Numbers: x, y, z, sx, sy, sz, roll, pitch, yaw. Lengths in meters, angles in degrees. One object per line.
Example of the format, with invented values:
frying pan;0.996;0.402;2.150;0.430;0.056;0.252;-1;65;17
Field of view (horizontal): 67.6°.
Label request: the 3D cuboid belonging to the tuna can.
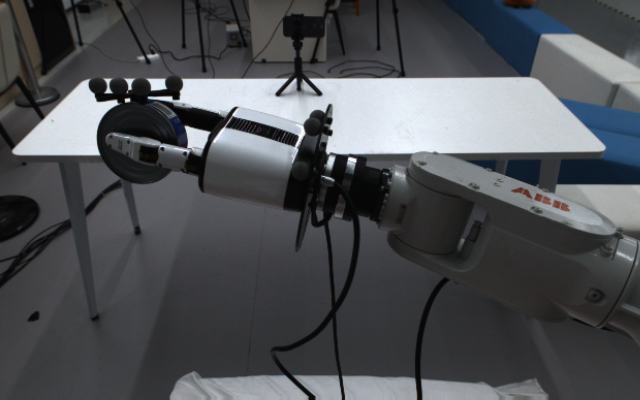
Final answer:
tuna can;-0.183;-0.061;0.512;0.085;0.085;0.034;4;18;2
